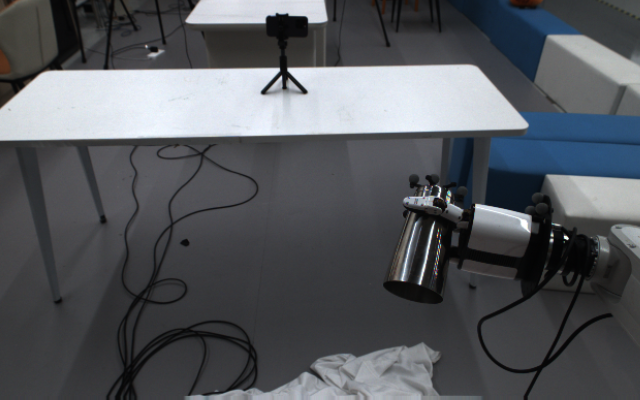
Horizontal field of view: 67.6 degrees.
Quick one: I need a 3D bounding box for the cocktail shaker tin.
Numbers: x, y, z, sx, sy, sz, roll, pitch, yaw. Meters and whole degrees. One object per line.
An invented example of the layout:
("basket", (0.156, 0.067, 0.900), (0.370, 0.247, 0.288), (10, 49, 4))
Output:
("cocktail shaker tin", (0.166, 0.060, 0.755), (0.093, 0.093, 0.170), (12, 65, 14))
